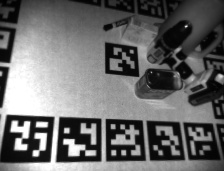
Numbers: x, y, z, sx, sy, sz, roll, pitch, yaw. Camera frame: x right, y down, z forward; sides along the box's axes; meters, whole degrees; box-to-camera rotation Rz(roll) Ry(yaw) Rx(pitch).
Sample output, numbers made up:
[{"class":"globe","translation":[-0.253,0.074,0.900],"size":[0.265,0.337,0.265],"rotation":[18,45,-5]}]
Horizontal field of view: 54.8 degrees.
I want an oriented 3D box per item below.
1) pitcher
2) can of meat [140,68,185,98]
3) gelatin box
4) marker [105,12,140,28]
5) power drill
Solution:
[{"class":"pitcher","translation":[0.254,-0.182,0.612],"size":[0.188,0.242,0.133],"rotation":[30,68,3]},{"class":"can of meat","translation":[0.135,-0.004,0.586],"size":[0.103,0.083,0.057],"rotation":[0,69,-17]},{"class":"gelatin box","translation":[0.095,-0.156,0.637],"size":[0.090,0.073,0.030],"rotation":[12,71,-14]},{"class":"marker","translation":[0.033,-0.201,0.660],"size":[0.122,0.019,0.019],"rotation":[-26,80,-23]},{"class":"power drill","translation":[0.208,-0.079,0.585],"size":[0.188,0.183,0.057],"rotation":[36,67,-8]}]
